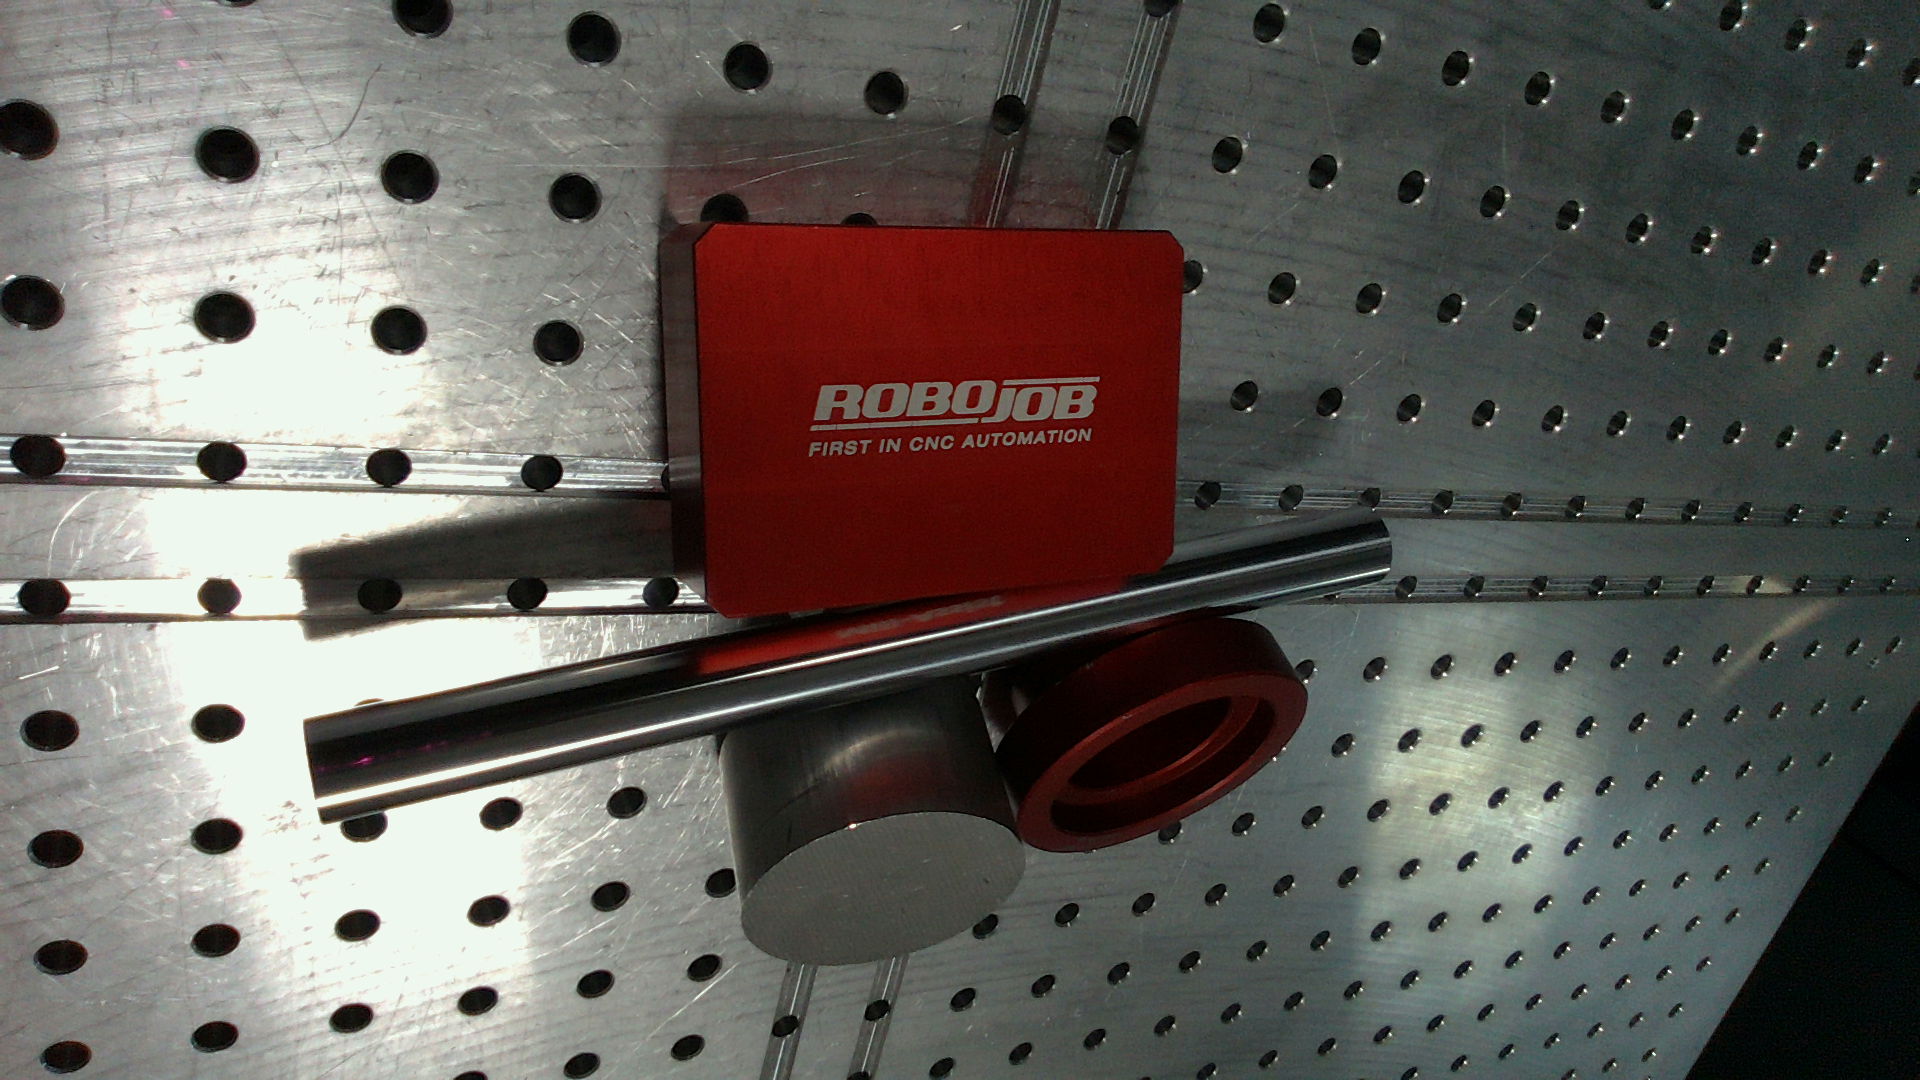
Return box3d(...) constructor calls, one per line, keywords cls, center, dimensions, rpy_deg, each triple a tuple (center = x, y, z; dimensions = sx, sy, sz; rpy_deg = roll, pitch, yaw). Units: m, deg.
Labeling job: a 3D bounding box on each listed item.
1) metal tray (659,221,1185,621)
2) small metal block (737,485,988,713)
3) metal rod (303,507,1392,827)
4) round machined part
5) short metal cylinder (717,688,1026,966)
box3d(cls="metal tray", center=(-0.006, -0.033, 0.347), dimensions=(0.130, 0.030, 0.090), rpy_deg=(-5, 102, -26))
box3d(cls="small metal block", center=(-0.028, 0.018, 0.399), dimensions=(0.050, 0.025, 0.050), rpy_deg=(19, 108, -35))
box3d(cls="metal rod", center=(-0.010, 0.027, 0.370), dimensions=(0.301, 0.025, 0.025), rpy_deg=(-11, 123, -23))
box3d(cls="round machined part", center=(0.055, 0.054, 0.429), dimensions=(0.098, 0.042, 0.098), rpy_deg=(-18, 147, -12))
box3d(cls="short metal cylinder", center=(-0.026, 0.080, 0.396), dimensions=(0.080, 0.050, 0.080), rpy_deg=(-11, 139, -9))
